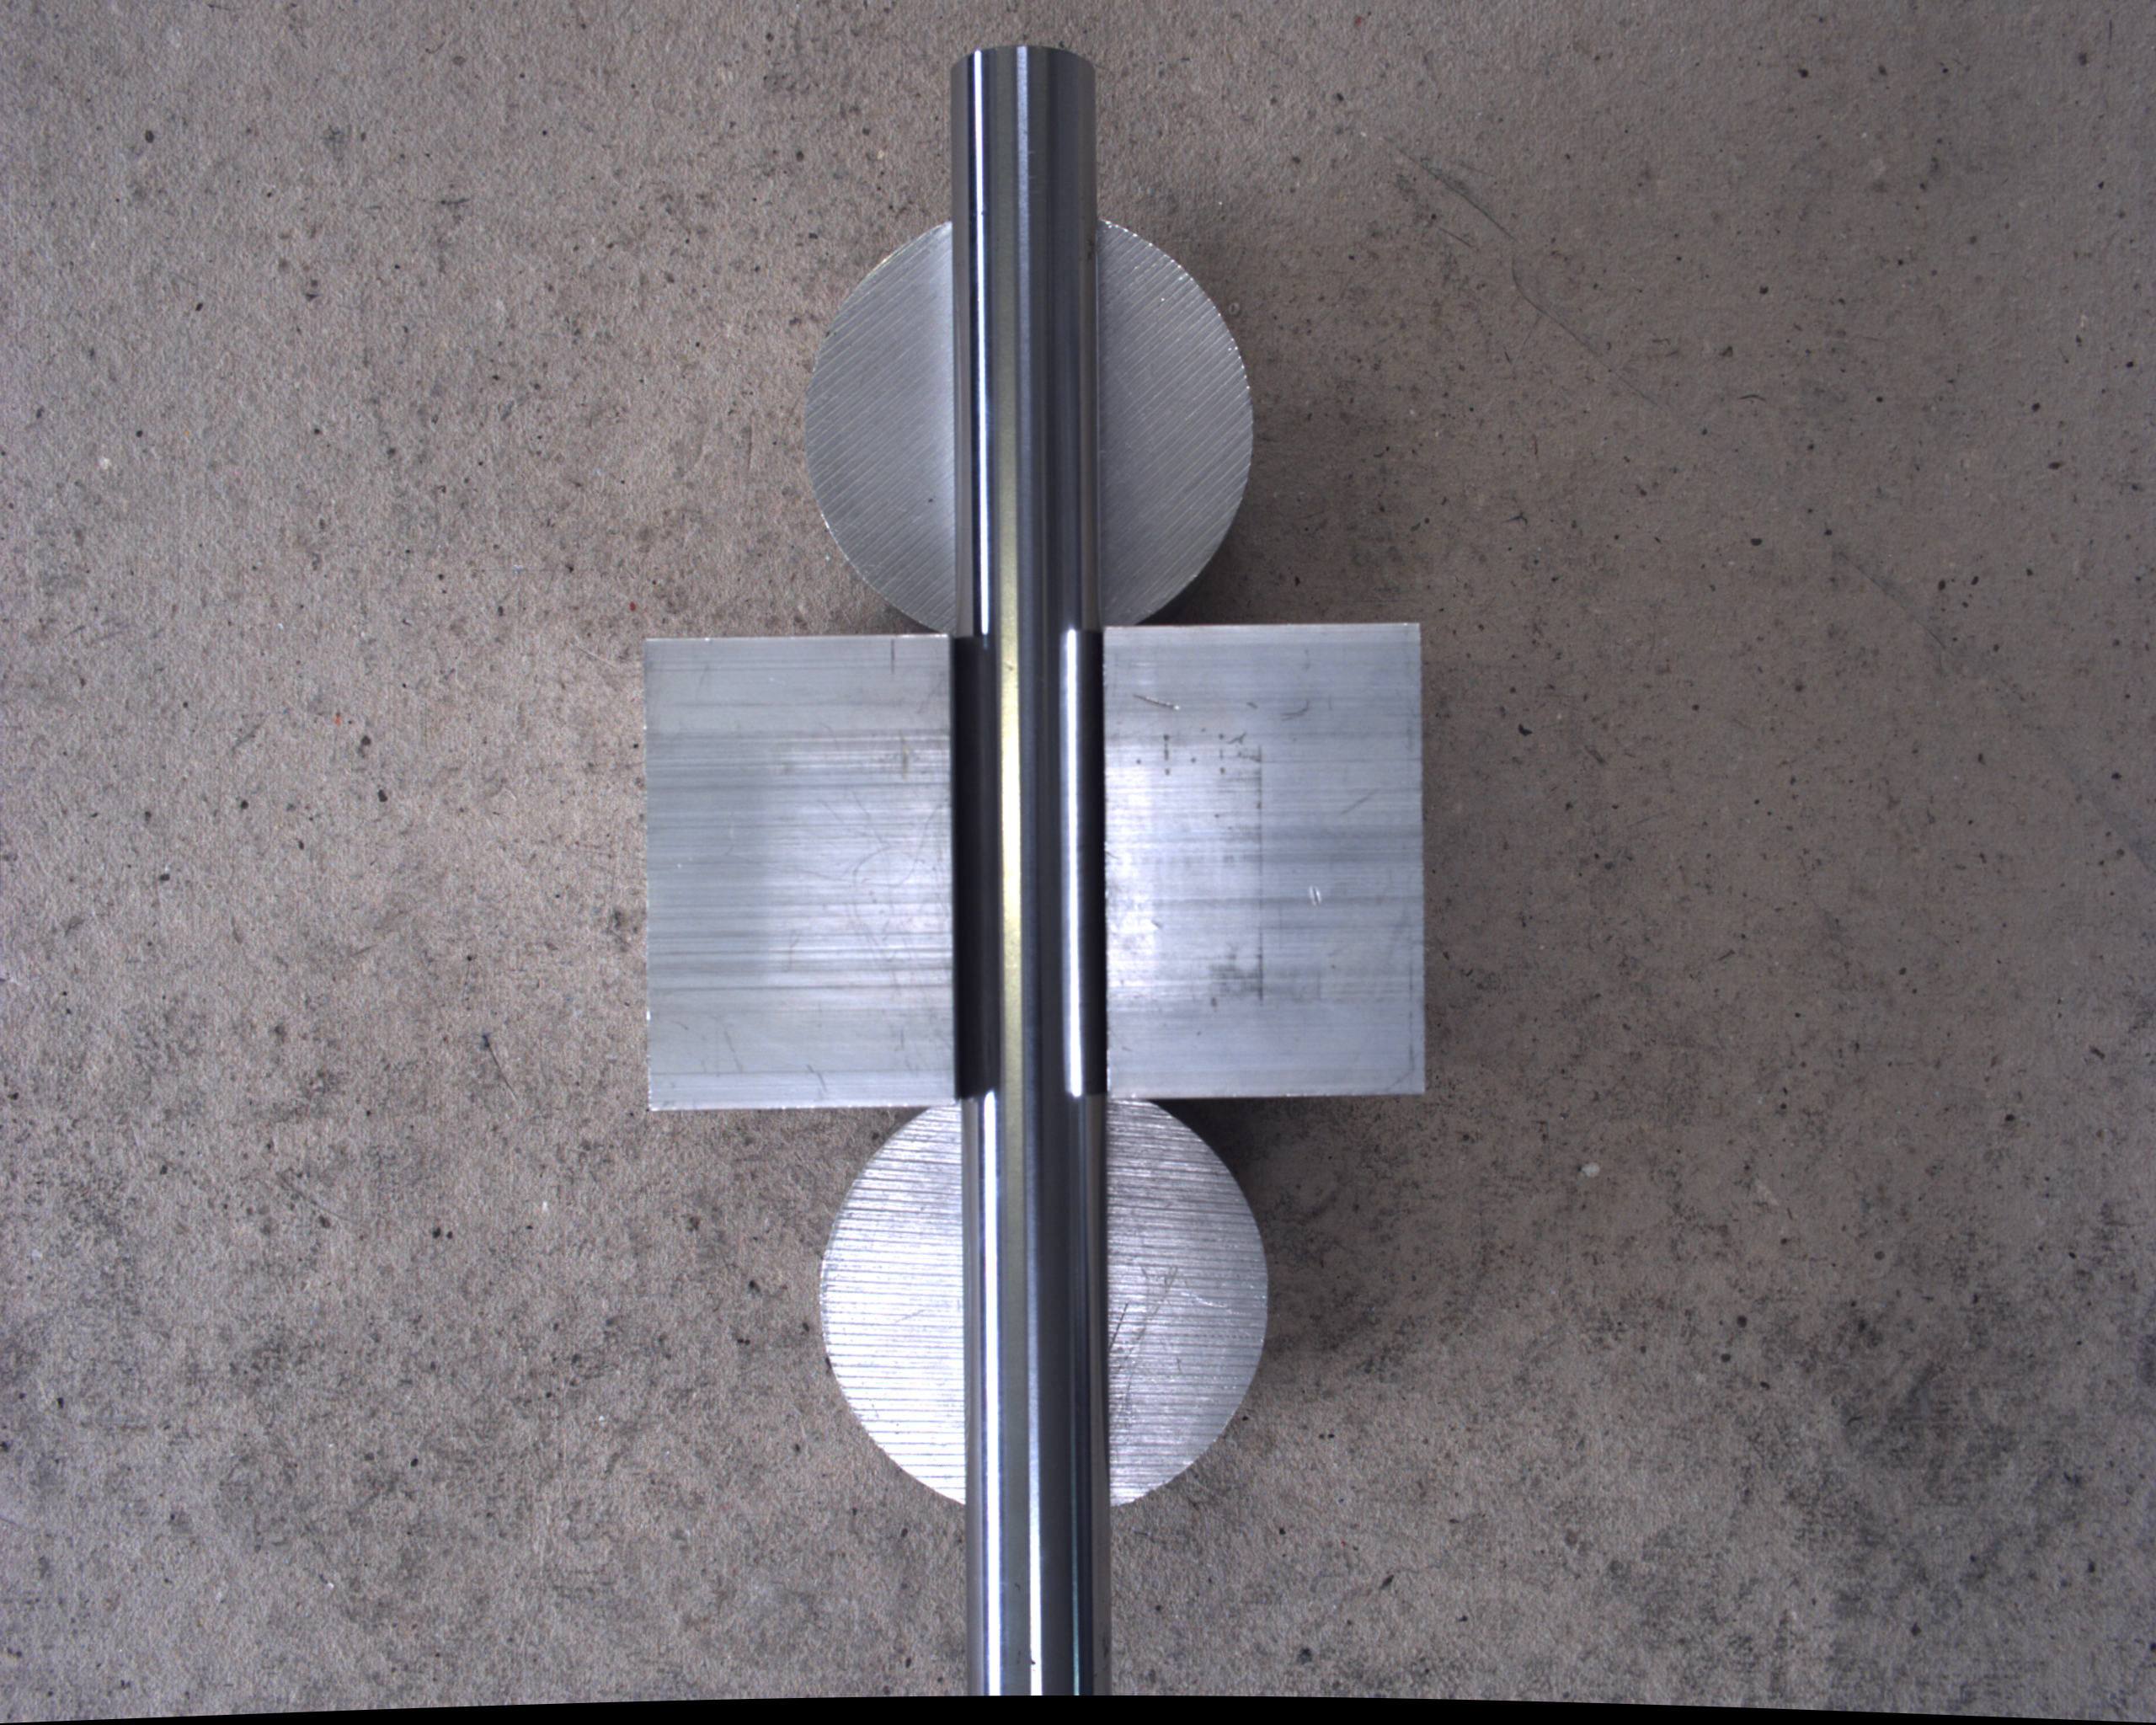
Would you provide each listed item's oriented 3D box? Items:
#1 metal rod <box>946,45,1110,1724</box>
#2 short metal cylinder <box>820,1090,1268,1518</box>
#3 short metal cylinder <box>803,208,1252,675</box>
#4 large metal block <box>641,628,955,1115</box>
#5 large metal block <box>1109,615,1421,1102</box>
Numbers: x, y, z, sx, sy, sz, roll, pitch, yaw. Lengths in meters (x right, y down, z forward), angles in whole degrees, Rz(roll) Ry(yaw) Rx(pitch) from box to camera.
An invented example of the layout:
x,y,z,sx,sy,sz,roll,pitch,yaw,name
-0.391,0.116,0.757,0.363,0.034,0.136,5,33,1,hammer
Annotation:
x,y,z,sx,sy,sz,roll,pitch,yaw,name
-0.009,0.013,0.361,0.025,0.025,0.298,-1,90,0,metal rod
-0.006,0.078,0.399,0.081,0.050,0.080,0,90,0,short metal cylinder
-0.009,-0.078,0.398,0.081,0.050,0.080,0,90,0,short metal cylinder
-0.046,0.001,0.383,0.050,0.080,0.080,-1,90,0,large metal block
0.031,-0.001,0.384,0.050,0.080,0.080,-1,90,0,large metal block
